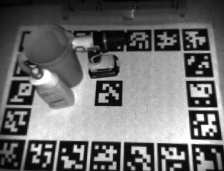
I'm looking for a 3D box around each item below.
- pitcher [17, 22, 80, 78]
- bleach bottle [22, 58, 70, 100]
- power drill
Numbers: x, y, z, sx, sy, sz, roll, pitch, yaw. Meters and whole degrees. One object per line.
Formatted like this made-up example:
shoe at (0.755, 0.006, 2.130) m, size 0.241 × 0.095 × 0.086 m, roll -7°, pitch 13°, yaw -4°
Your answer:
pitcher at (-0.199, -0.108, 0.732) m, size 0.189 × 0.244 × 0.132 m, roll -26°, pitch 72°, yaw -2°
bleach bottle at (-0.215, -0.018, 0.683) m, size 0.102 × 0.252 × 0.067 m, roll -8°, pitch 71°, yaw 5°
power drill at (-0.030, -0.124, 0.732) m, size 0.185 × 0.187 × 0.057 m, roll -4°, pitch 74°, yaw -1°
